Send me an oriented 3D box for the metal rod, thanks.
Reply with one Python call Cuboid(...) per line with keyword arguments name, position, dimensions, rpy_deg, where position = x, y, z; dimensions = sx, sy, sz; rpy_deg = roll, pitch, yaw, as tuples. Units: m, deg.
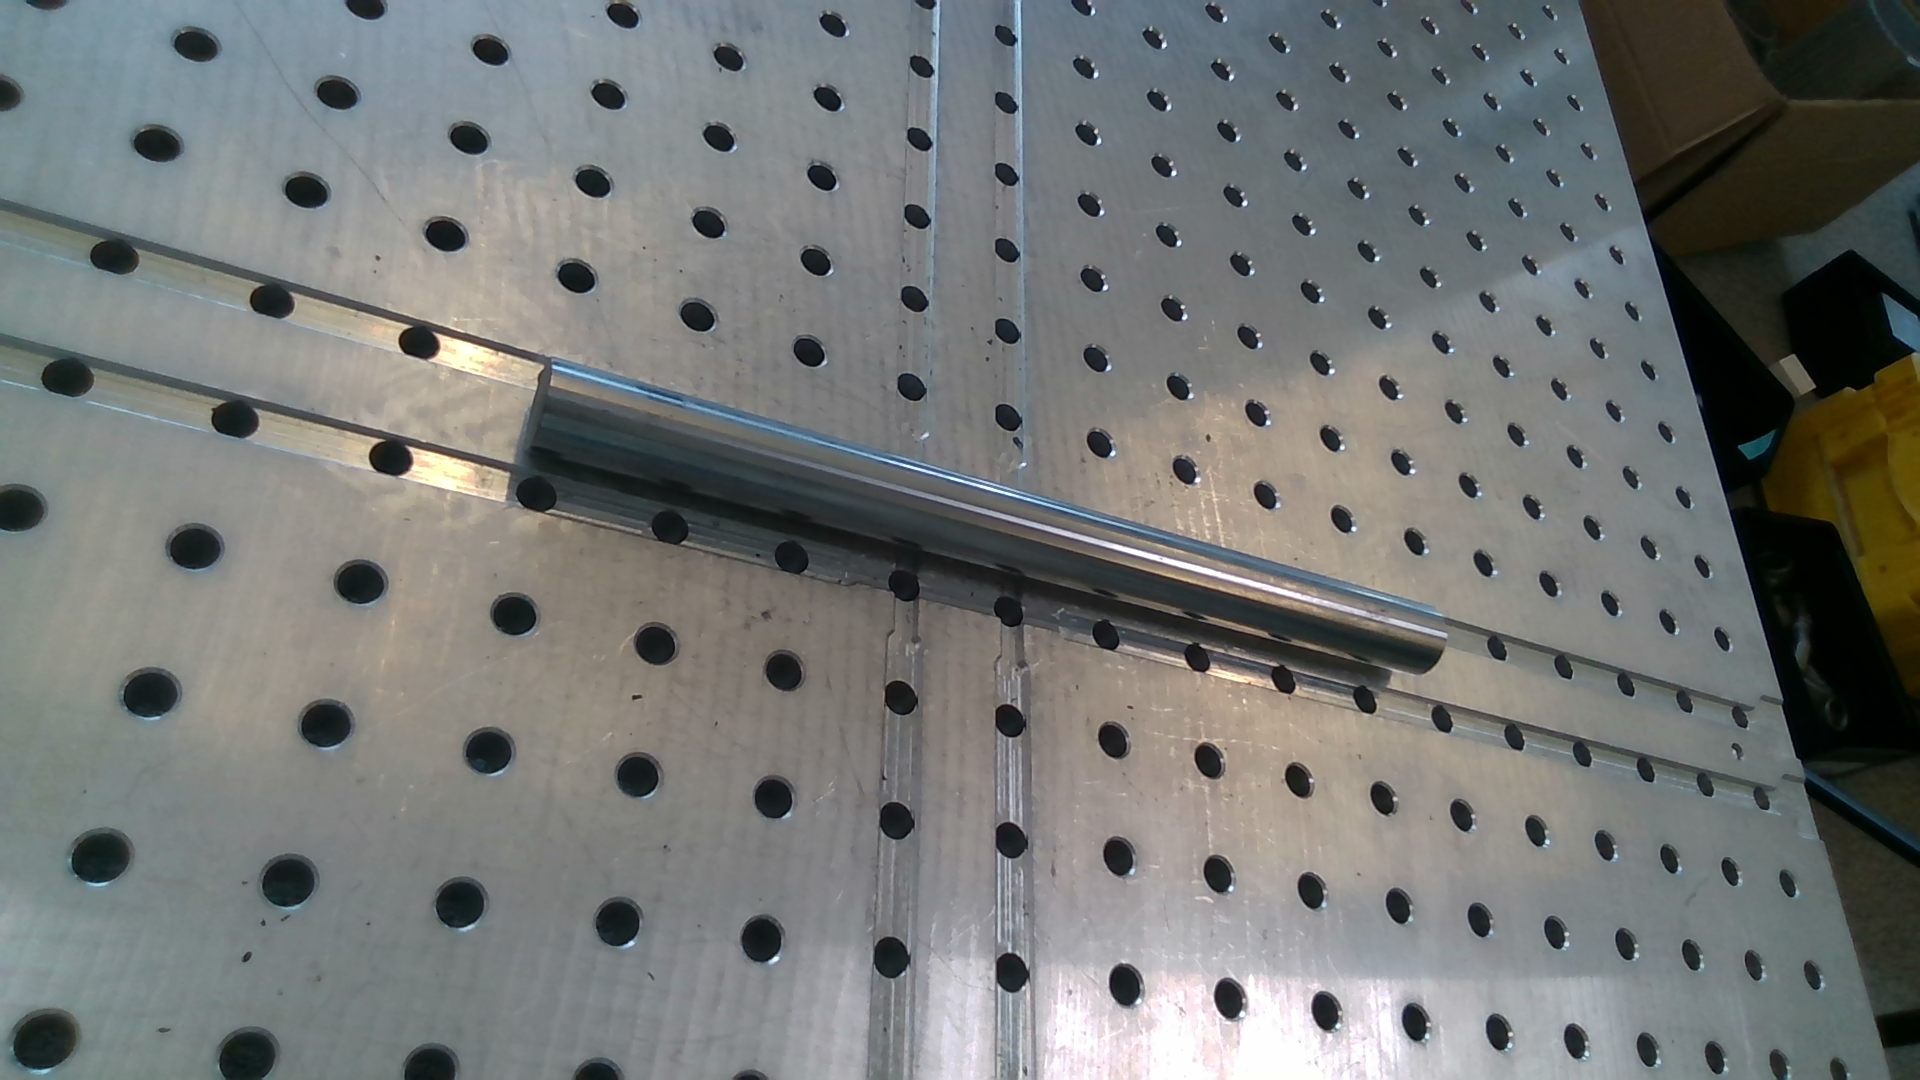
Cuboid(name="metal rod", position=(0.025, -0.001, 0.412), dimensions=(0.300, 0.025, 0.025), rpy_deg=(15, 58, -25))
